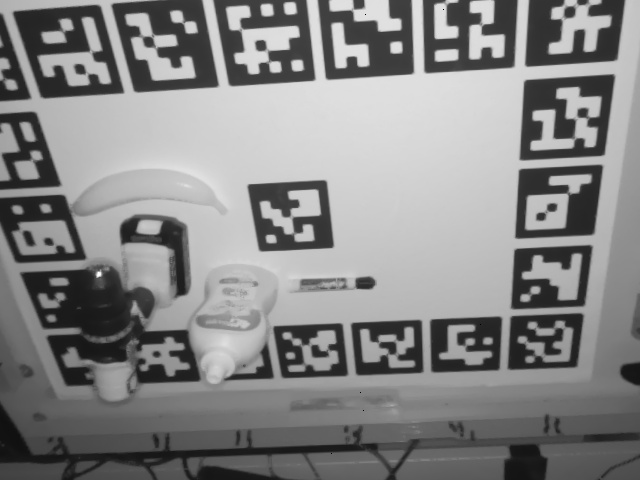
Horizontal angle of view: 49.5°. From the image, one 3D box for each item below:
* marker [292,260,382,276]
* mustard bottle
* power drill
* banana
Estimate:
[{"bbox_3d":[0.023,0.038,0.934,0.121,0.020,0.019,-2,117,4],"label":"marker"},{"bbox_3d":[-0.110,0.079,0.865,0.096,0.193,0.058,7,119,2],"label":"mustard bottle"},{"bbox_3d":[-0.223,0.037,0.831,0.057,0.189,0.182,9,121,2],"label":"power drill"},{"bbox_3d":[-0.216,-0.086,0.875,0.197,0.039,0.073,3,117,0],"label":"banana"}]
